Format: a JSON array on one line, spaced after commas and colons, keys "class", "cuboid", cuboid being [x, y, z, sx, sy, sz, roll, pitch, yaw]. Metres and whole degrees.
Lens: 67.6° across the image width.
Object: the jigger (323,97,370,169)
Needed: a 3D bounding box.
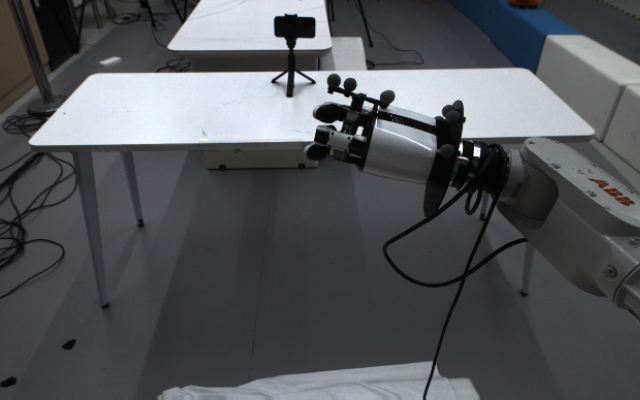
[{"class": "jigger", "cuboid": [0.040, -0.088, 0.647, 0.043, 0.071, 0.043, 15, 17, -5]}]
